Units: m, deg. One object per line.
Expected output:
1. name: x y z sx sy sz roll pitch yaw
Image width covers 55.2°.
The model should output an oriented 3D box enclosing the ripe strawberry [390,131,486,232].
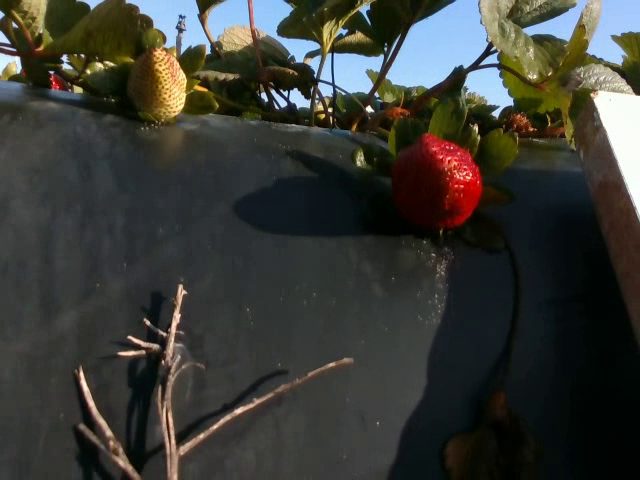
1. ripe strawberry: 0.015 -0.008 0.079 0.016 0.015 0.022 14 -3 4
